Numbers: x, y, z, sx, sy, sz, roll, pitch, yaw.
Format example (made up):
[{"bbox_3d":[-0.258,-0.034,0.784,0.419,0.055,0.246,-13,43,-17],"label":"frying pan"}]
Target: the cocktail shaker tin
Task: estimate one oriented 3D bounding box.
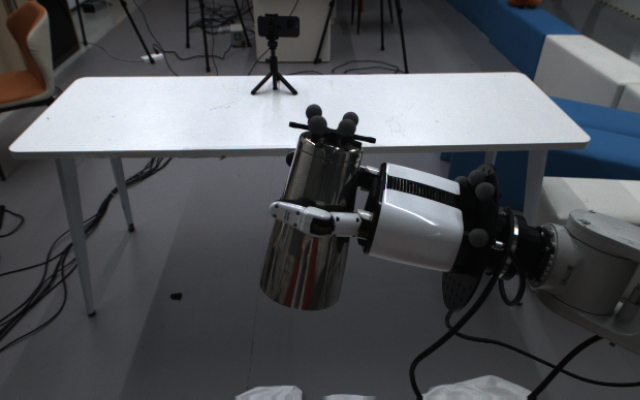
[{"bbox_3d":[-0.003,0.019,0.515,0.093,0.170,0.093,11,19,-4],"label":"cocktail shaker tin"}]
